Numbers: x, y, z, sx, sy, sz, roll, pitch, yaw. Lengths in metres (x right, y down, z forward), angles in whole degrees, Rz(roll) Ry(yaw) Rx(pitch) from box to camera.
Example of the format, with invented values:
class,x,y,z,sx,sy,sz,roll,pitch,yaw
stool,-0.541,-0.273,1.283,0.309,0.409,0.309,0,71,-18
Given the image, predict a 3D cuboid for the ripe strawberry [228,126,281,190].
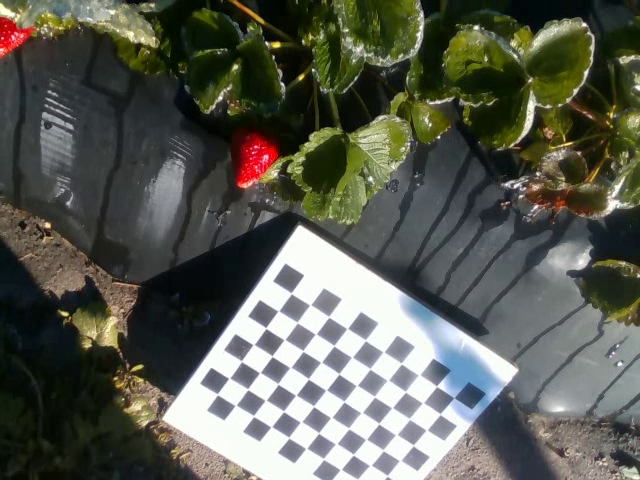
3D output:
class,x,y,z,sx,sy,sz,roll,pitch,yaw
ripe strawberry,-0.053,-0.061,0.454,0.041,0.053,0.047,27,-22,-8
